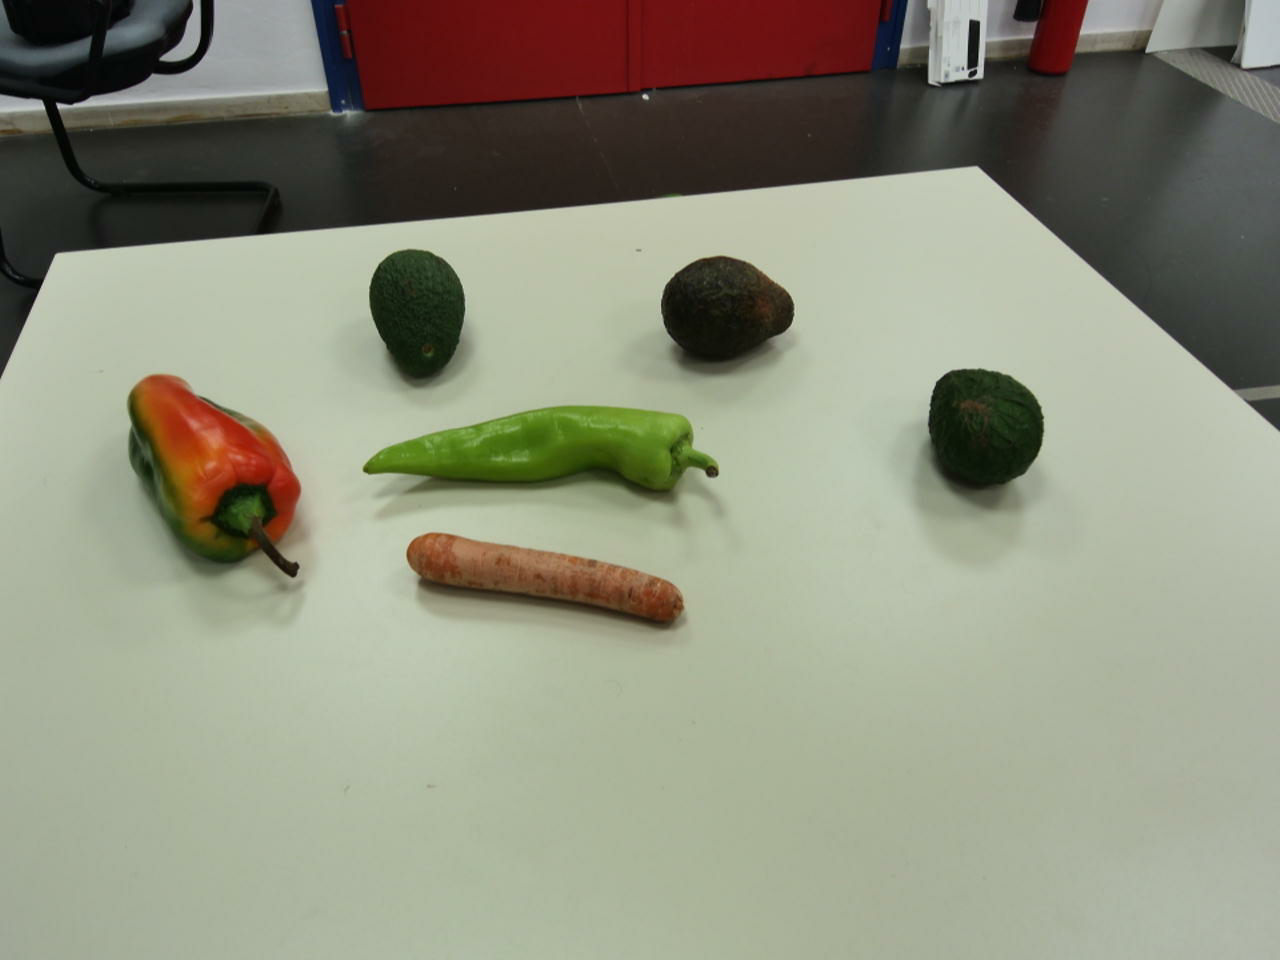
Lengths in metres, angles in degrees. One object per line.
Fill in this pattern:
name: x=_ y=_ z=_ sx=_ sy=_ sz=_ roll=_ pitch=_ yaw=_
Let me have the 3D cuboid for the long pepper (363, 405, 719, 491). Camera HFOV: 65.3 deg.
long pepper: x=-0.055 y=-0.019 z=0.589 sx=0.205 sy=0.045 sz=0.065 roll=3 pitch=39 yaw=3
